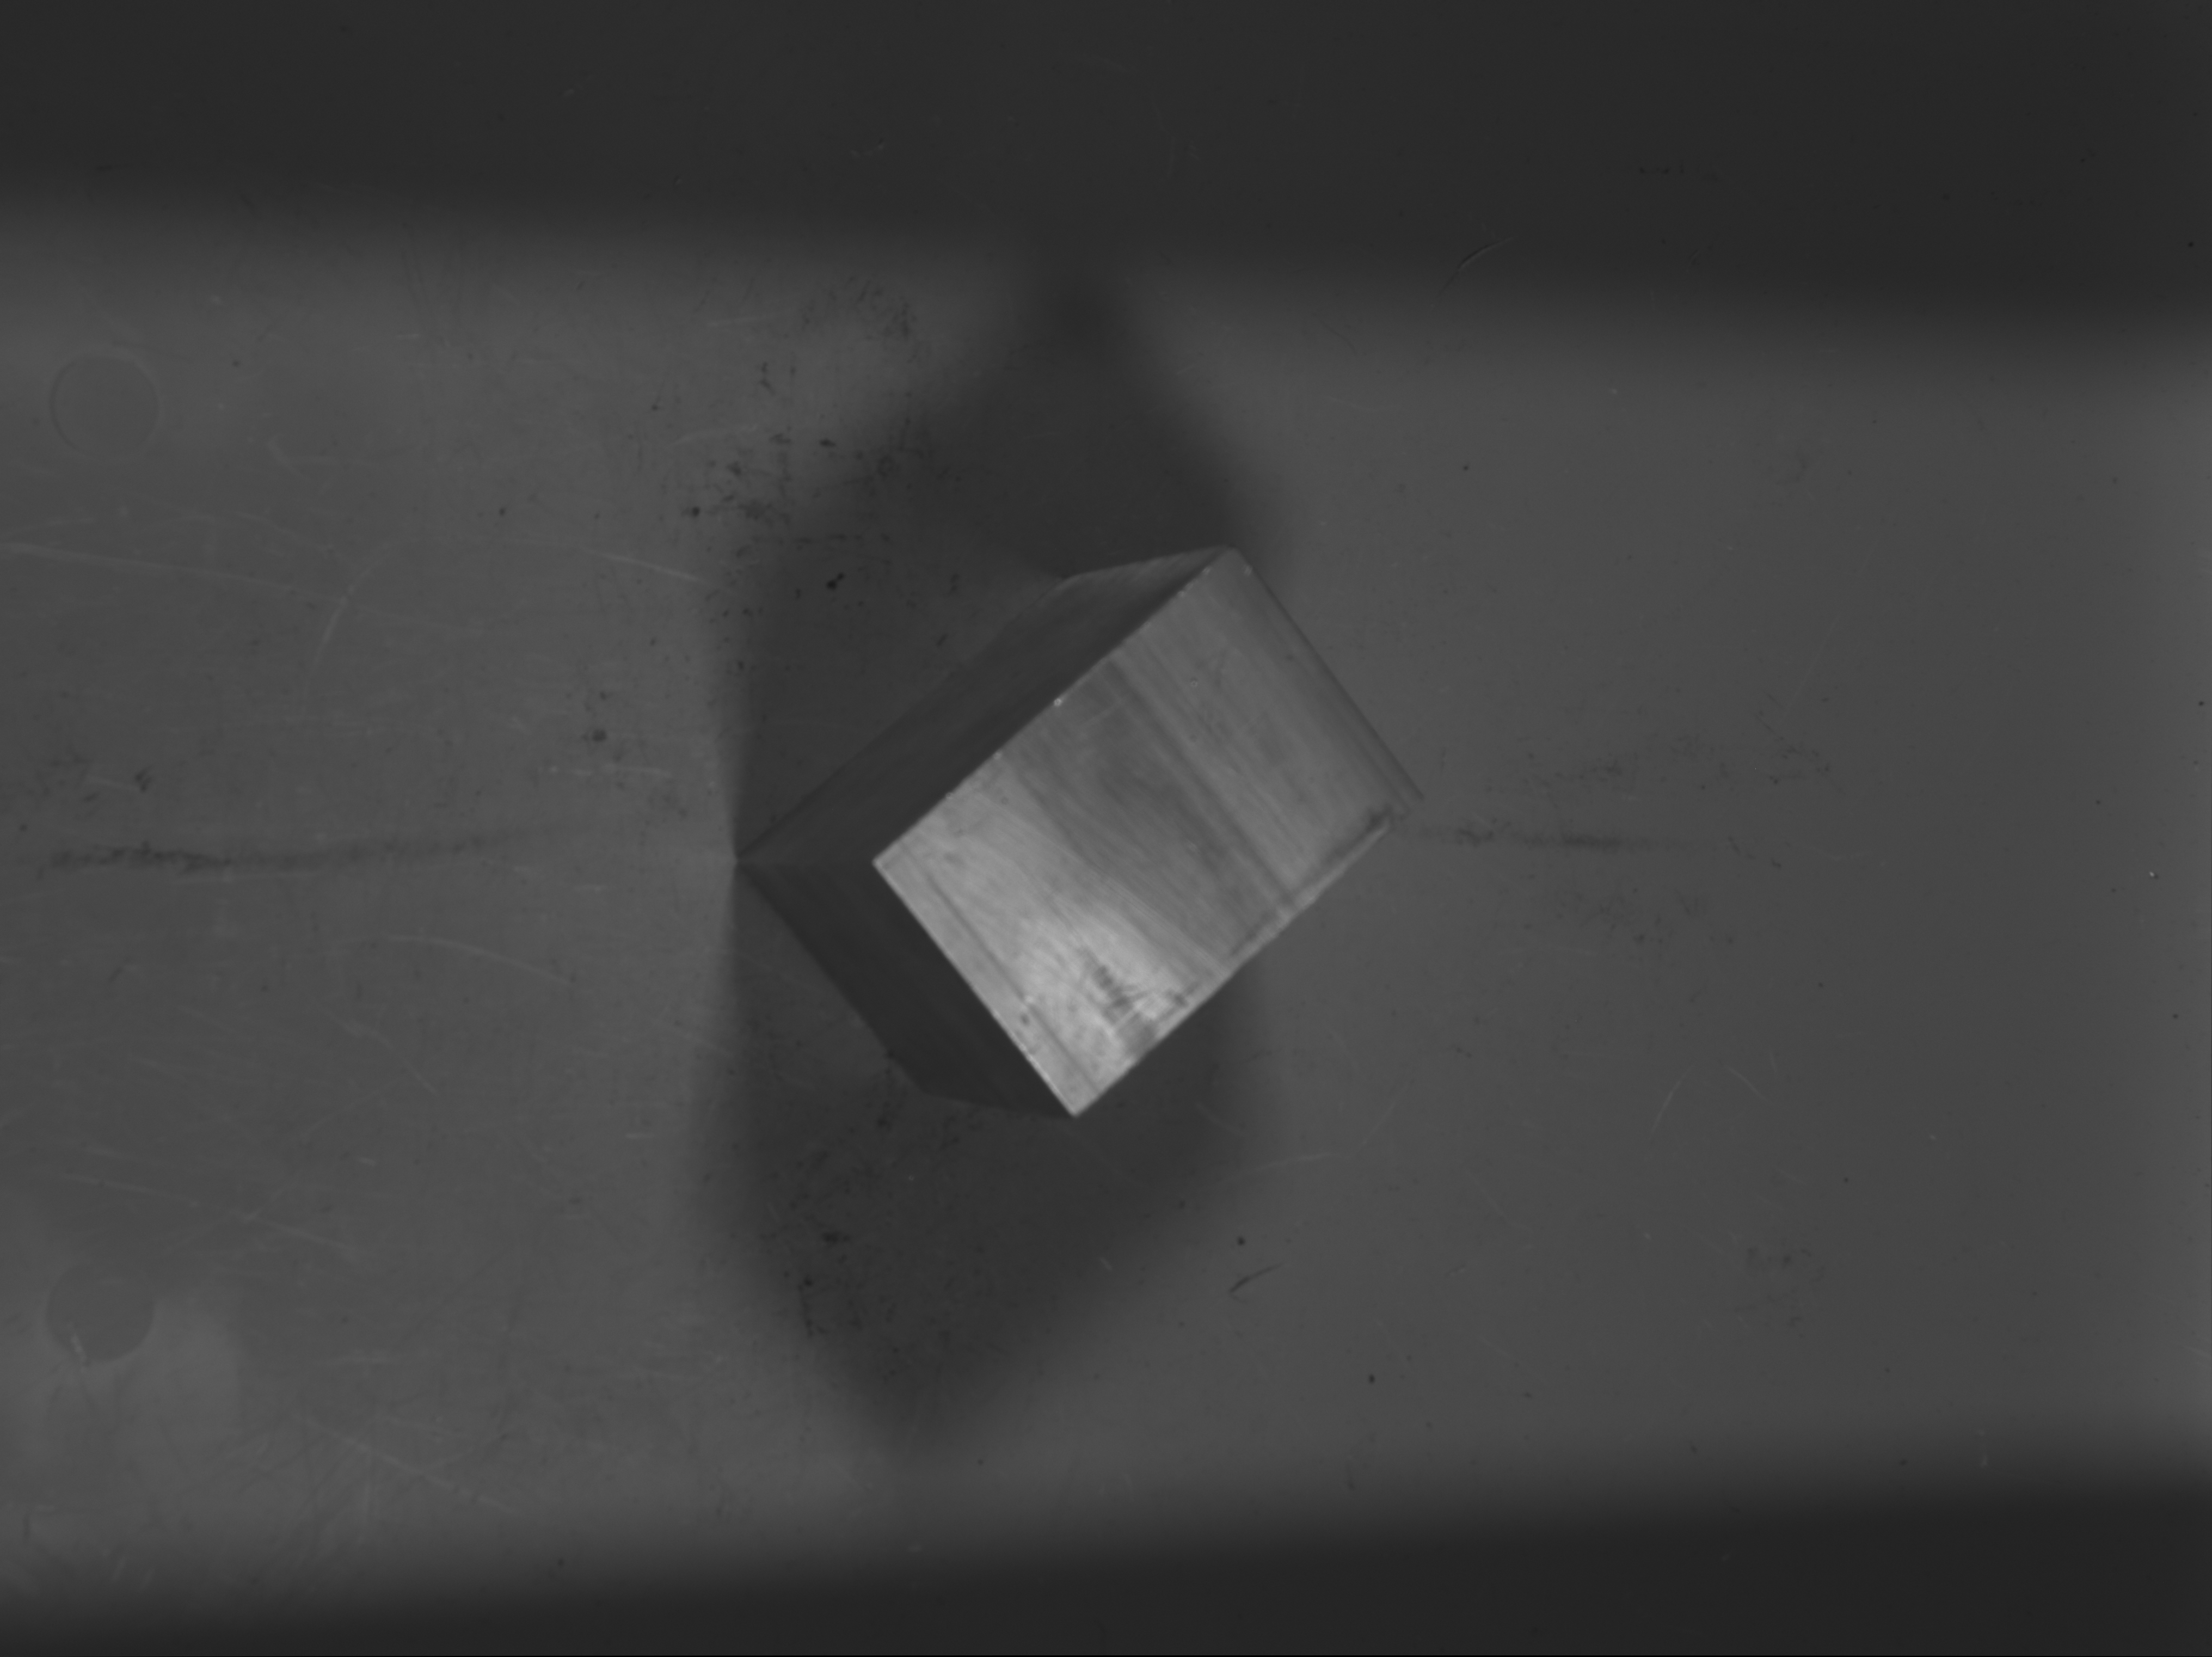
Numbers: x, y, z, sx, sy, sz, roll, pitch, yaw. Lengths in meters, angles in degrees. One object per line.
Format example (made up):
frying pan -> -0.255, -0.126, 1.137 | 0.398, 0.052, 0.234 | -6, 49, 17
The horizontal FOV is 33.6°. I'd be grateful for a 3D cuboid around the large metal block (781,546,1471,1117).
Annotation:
large metal block -> 0.001, 0.000, 0.612 | 0.080, 0.080, 0.050 | -41, 103, -15
